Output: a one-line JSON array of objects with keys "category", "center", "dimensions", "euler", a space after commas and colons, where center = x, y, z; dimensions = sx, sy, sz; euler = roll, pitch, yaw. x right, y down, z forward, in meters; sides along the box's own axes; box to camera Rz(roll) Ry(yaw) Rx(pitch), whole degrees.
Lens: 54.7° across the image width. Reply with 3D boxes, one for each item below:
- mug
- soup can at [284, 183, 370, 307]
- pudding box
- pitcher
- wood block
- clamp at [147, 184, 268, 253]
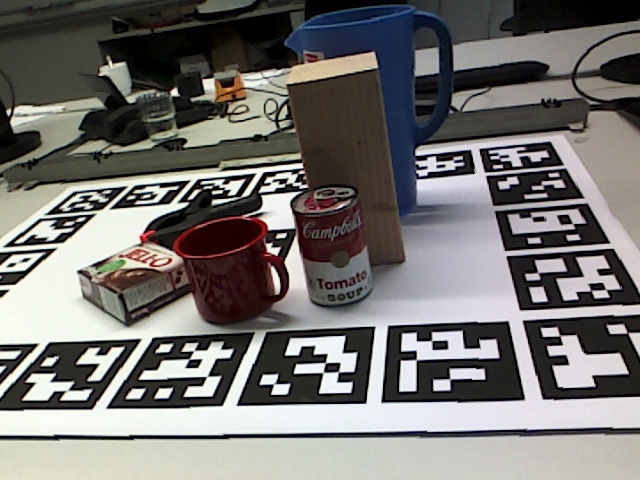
[{"category": "mug", "center": [-0.083, 0.032, 0.607], "dimensions": [0.093, 0.081, 0.118], "euler": [-28, 29, -37]}, {"category": "soup can", "center": [0.009, 0.005, 0.600], "dimensions": [0.068, 0.101, 0.068], "euler": [-10, 28, 5]}, {"category": "pudding box", "center": [-0.210, 0.044, 0.690], "dimensions": [0.089, 0.038, 0.115], "euler": [-33, 32, -33]}, {"category": "pitcher", "center": [0.069, -0.155, 0.748], "dimensions": [0.189, 0.242, 0.133], "euler": [-8, 23, 13]}, {"category": "wood block", "center": [0.030, -0.084, 0.653], "dimensions": [0.090, 0.205, 0.091], "euler": [-3, 26, 8]}, {"category": "clamp", "center": [-0.165, -0.026, 0.829], "dimensions": [0.123, 0.036, 0.164], "euler": [17, 37, 33]}]
